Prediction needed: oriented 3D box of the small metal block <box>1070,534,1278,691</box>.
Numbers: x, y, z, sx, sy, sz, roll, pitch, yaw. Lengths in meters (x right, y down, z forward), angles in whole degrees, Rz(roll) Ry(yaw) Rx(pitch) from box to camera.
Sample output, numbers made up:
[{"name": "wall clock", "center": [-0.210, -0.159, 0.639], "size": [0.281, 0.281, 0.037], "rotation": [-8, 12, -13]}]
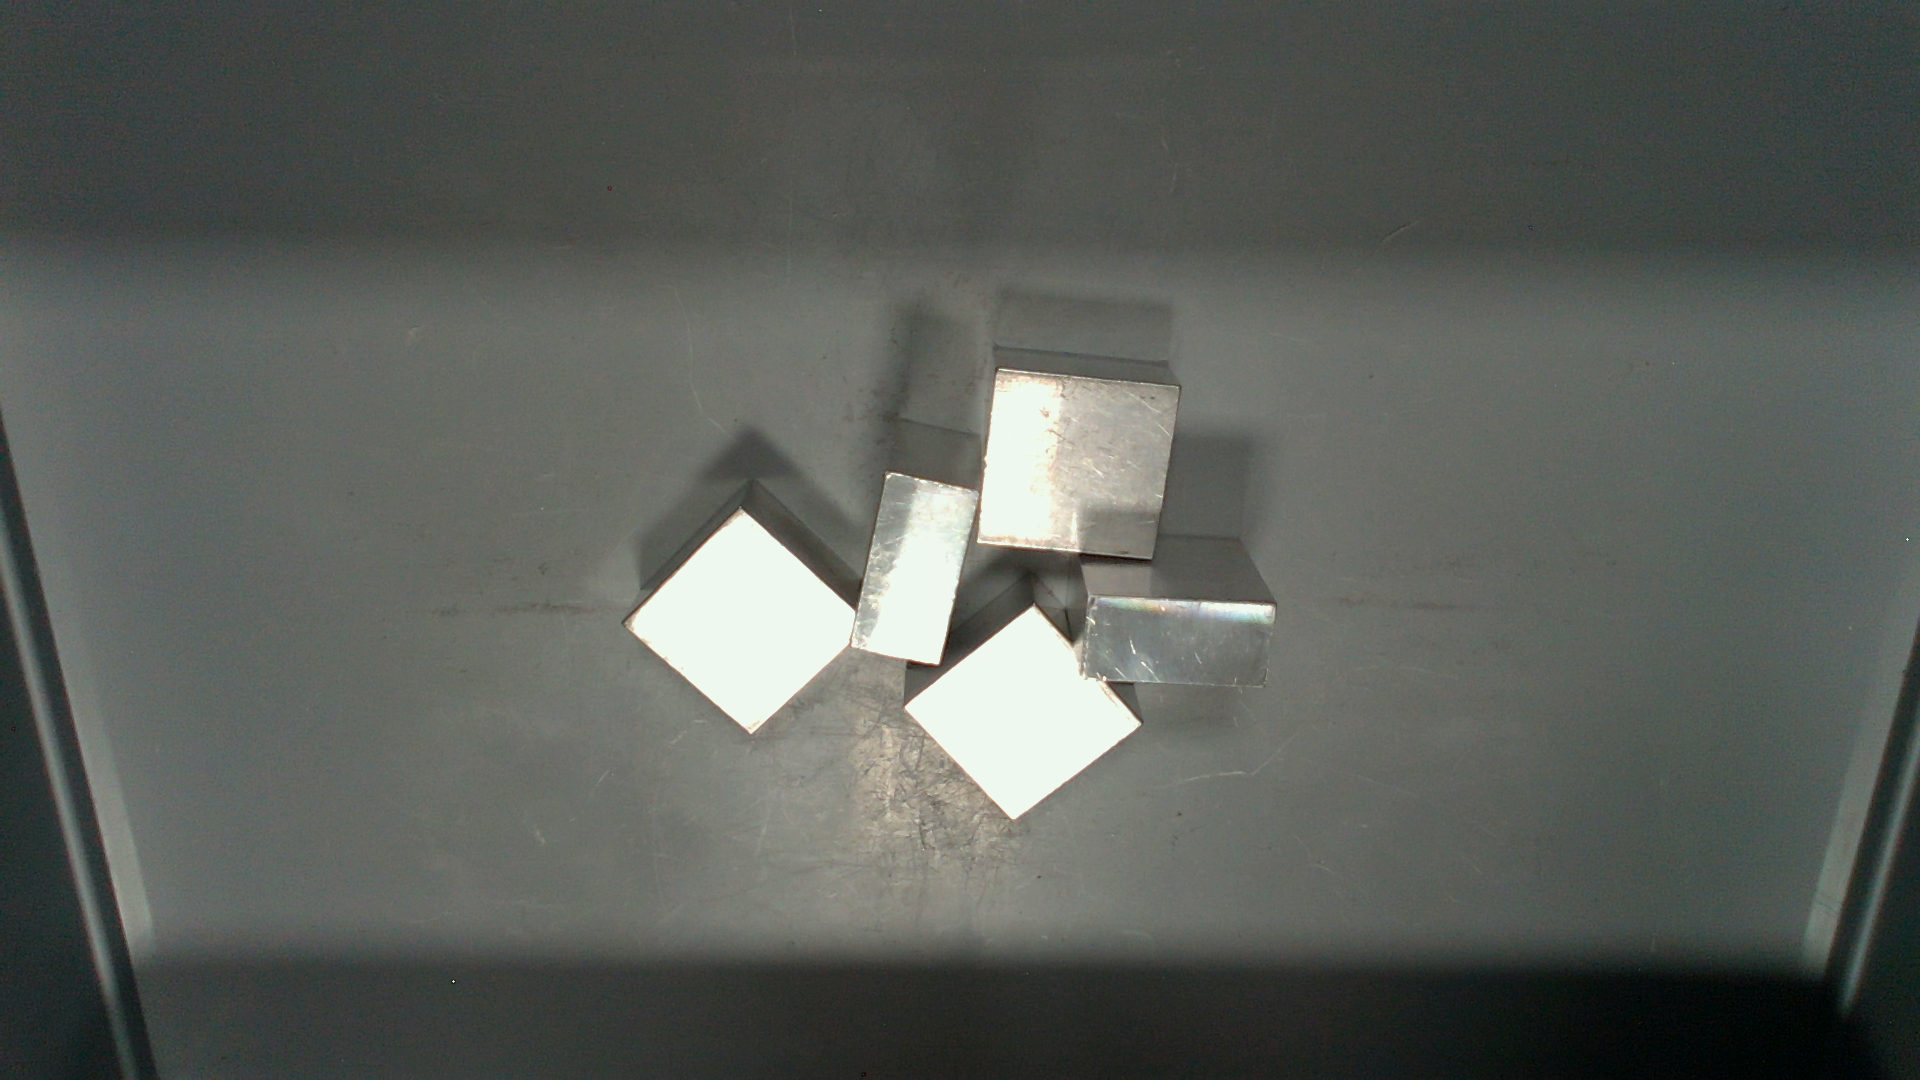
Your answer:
[{"name": "small metal block", "center": [0.057, 0.019, 0.386], "size": [0.050, 0.050, 0.025], "rotation": [3, 110, -1]}]

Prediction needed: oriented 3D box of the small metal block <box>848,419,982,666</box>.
[{"name": "small metal block", "center": [-0.012, -0.001, 0.378], "size": [0.025, 0.050, 0.050], "rotation": [12, 110, -4]}]

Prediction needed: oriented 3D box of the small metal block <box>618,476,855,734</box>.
[{"name": "small metal block", "center": [-0.061, 0.019, 0.399], "size": [0.050, 0.025, 0.050], "rotation": [-43, 105, 14]}]

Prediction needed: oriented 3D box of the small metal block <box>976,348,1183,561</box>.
[{"name": "small metal block", "center": [0.032, -0.024, 0.384], "size": [0.050, 0.025, 0.050], "rotation": [6, 110, -2]}]

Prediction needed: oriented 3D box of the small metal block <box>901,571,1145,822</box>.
[{"name": "small metal block", "center": [0.018, 0.047, 0.409], "size": [0.050, 0.025, 0.050], "rotation": [-39, 106, 13]}]
